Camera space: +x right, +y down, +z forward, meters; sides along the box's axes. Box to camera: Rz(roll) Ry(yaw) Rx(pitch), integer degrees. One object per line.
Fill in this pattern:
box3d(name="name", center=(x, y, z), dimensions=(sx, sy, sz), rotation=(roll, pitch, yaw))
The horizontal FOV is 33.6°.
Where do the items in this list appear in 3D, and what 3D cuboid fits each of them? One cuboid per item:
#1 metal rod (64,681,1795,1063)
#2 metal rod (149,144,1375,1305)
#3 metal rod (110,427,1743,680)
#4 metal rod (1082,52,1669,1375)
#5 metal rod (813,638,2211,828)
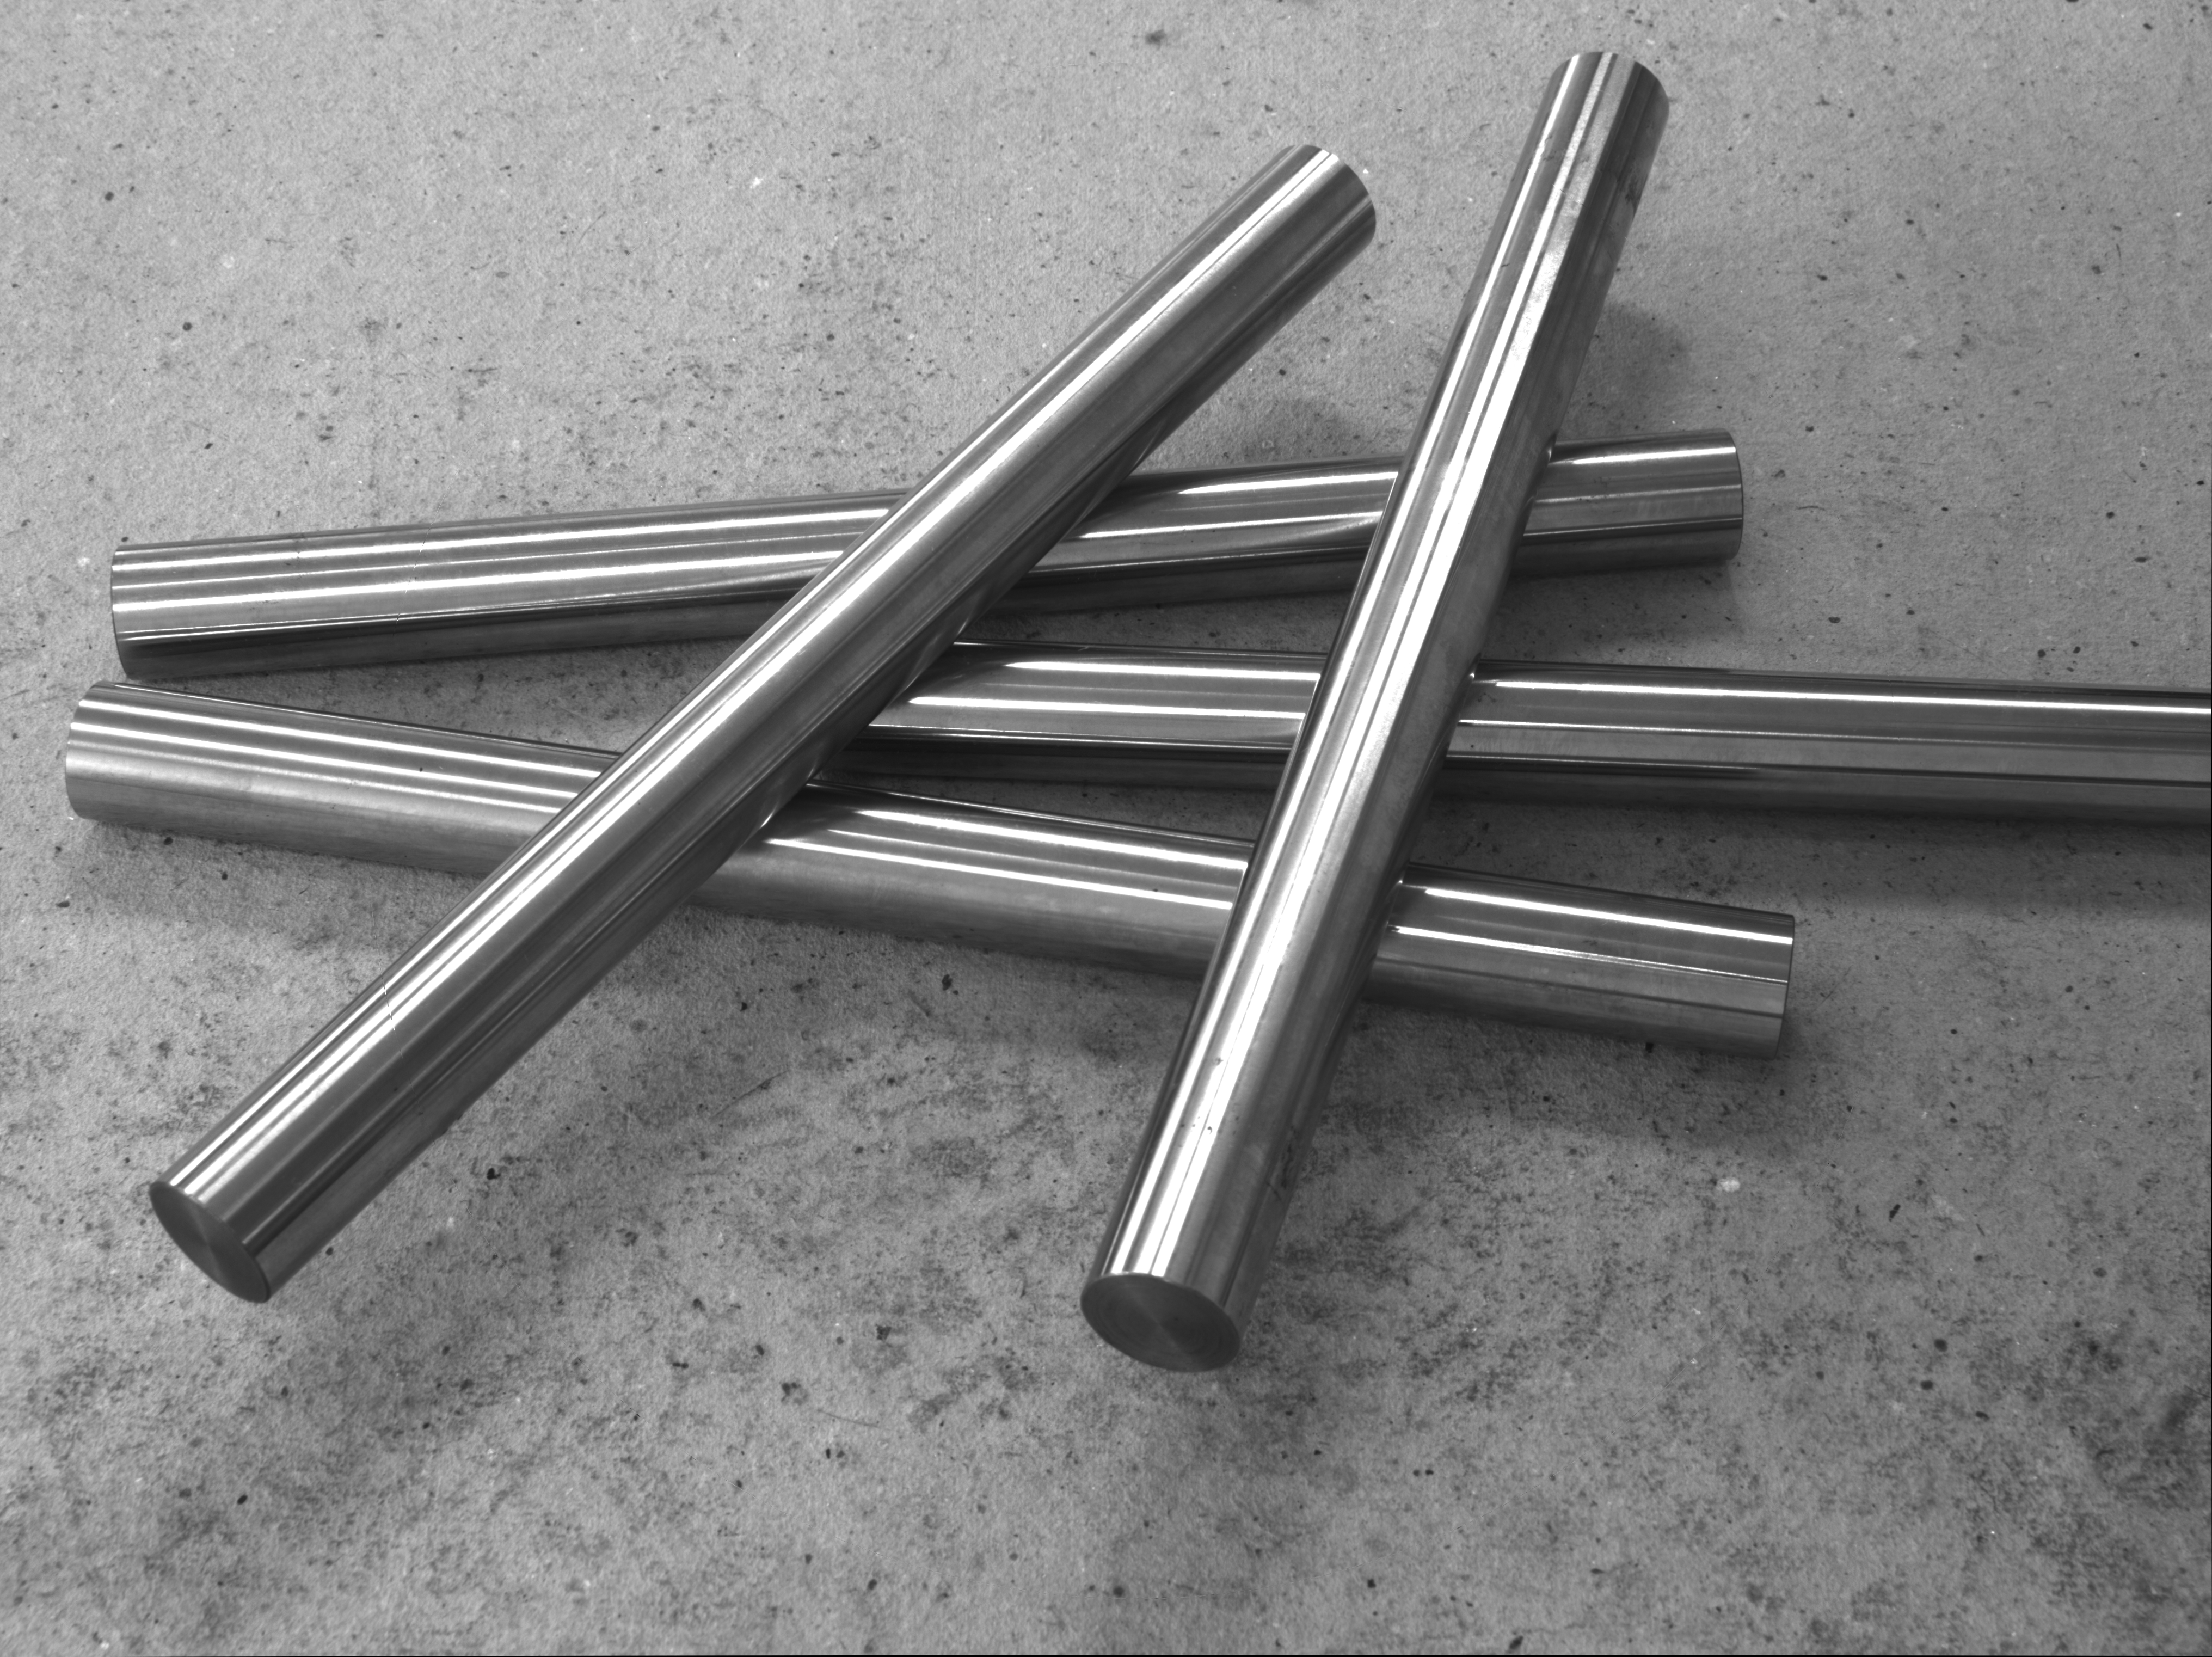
box3d(name="metal rod", center=(-0.033, 0.007, 0.636), dimensions=(0.300, 0.025, 0.025), rotation=(8, 50, 7))
box3d(name="metal rod", center=(-0.047, -0.030, 0.634), dimensions=(0.025, 0.025, 0.301), rotation=(29, 56, 23))
box3d(name="metal rod", center=(-0.031, -0.052, 0.686), dimensions=(0.300, 0.025, 0.025), rotation=(-5, 50, -4))
box3d(name="metal rod", center=(0.054, -0.035, 0.639), dimensions=(0.025, 0.025, 0.300), rotation=(14, 51, 11))
box3d(name="metal rod", center=(0.097, -0.017, 0.656), dimensions=(0.300, 0.025, 0.025), rotation=(2, 50, 2))
